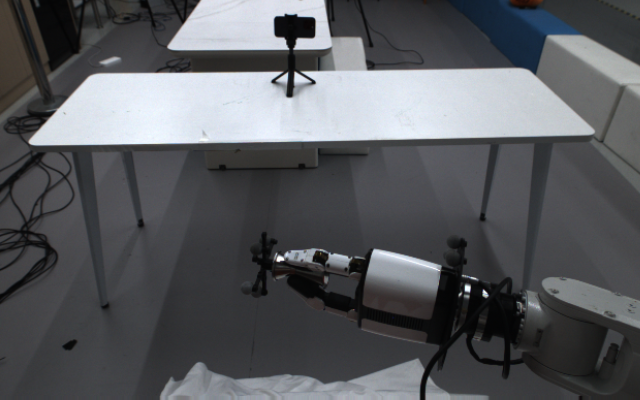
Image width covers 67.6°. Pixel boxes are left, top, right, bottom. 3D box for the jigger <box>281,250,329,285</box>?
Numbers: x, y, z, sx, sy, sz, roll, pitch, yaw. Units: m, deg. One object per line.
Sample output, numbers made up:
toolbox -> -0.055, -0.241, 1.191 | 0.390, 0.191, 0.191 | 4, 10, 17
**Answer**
jigger -> -0.016, 0.084, 0.624 | 0.071, 0.043, 0.043 | 4, 34, 12
